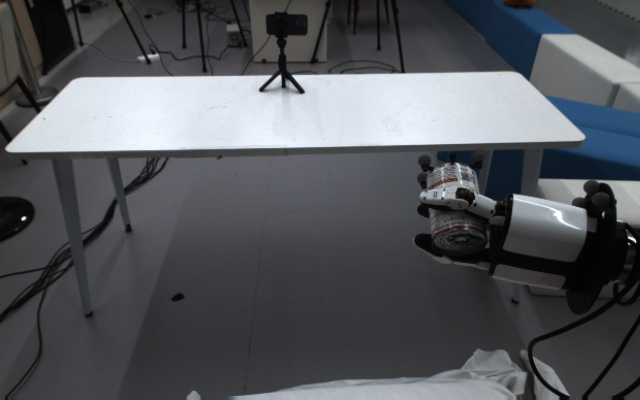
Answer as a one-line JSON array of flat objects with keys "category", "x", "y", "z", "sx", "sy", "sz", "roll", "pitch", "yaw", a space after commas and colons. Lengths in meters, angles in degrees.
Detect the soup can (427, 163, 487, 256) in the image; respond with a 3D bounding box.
[{"category": "soup can", "x": 0.175, "y": 0.011, "z": 0.622, "sx": 0.067, "sy": 0.067, "sz": 0.101, "roll": 3, "pitch": 57, "yaw": 1}]
